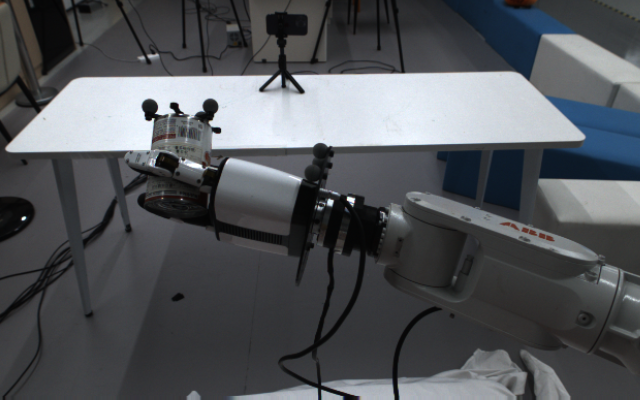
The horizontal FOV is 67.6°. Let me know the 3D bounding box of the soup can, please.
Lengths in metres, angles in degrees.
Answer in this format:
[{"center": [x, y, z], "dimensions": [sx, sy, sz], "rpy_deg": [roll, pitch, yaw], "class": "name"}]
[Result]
[{"center": [-0.157, -0.036, 0.543], "dimensions": [0.067, 0.067, 0.101], "rpy_deg": [1, 72, -2], "class": "soup can"}]
